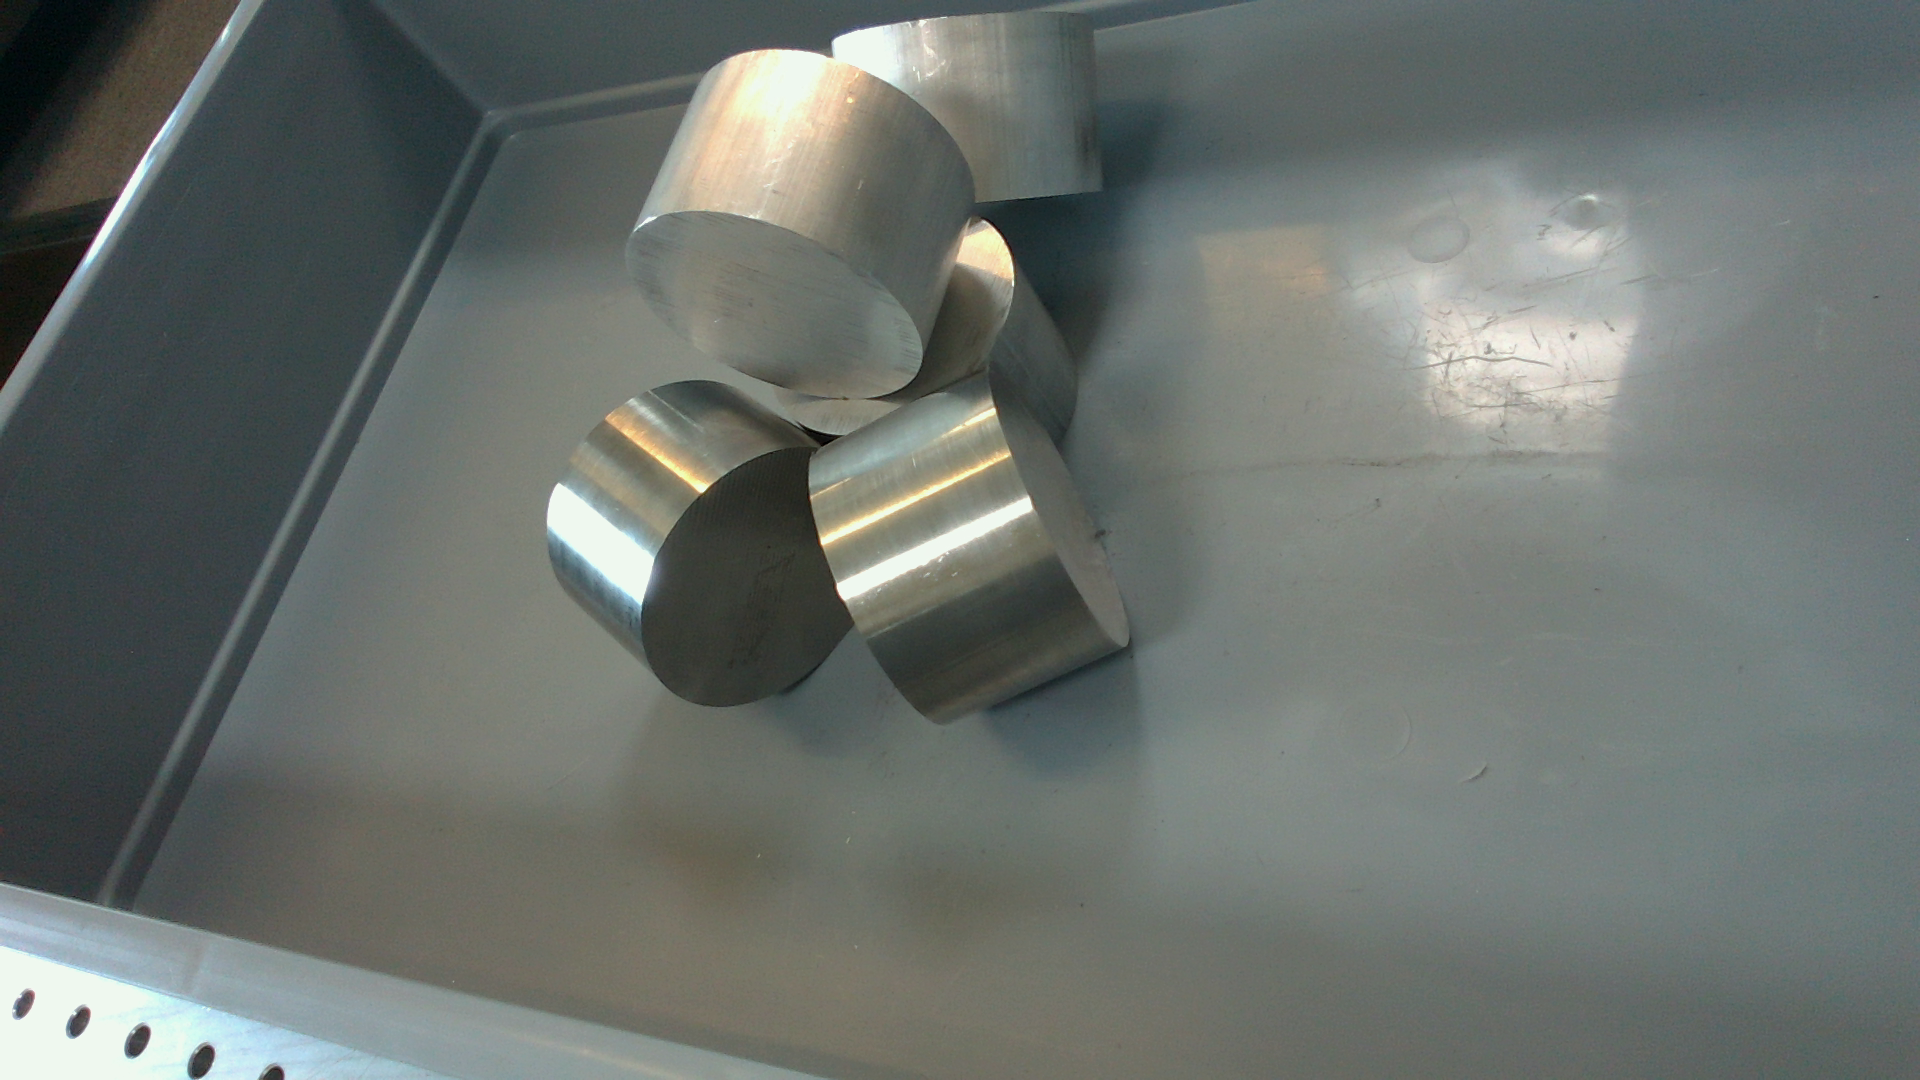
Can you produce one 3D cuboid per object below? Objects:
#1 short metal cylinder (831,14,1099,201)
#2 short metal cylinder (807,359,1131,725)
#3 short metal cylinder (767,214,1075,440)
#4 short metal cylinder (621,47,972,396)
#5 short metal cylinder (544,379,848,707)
[{"bbox_3d":[0.002,-0.131,0.428,0.080,0.080,0.050,4,106,30],"label":"short metal cylinder"},{"bbox_3d":[0.004,0.001,0.354,0.050,0.080,0.080,-26,52,13],"label":"short metal cylinder"},{"bbox_3d":[-0.012,-0.053,0.414,0.080,0.050,0.080,-13,56,21],"label":"short metal cylinder"},{"bbox_3d":[-0.042,-0.081,0.364,0.080,0.080,0.050,3,63,30],"label":"short metal cylinder"},{"bbox_3d":[-0.070,0.000,0.394,0.050,0.080,0.080,33,80,39],"label":"short metal cylinder"}]
